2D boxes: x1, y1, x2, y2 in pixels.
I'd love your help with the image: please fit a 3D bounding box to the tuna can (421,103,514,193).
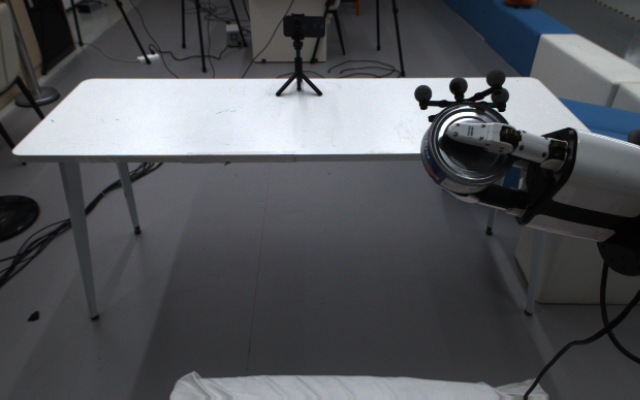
[{"bbox_3d":[0.147,-0.054,0.478,0.085,0.034,0.085,1,73,-4],"label":"tuna can"}]
